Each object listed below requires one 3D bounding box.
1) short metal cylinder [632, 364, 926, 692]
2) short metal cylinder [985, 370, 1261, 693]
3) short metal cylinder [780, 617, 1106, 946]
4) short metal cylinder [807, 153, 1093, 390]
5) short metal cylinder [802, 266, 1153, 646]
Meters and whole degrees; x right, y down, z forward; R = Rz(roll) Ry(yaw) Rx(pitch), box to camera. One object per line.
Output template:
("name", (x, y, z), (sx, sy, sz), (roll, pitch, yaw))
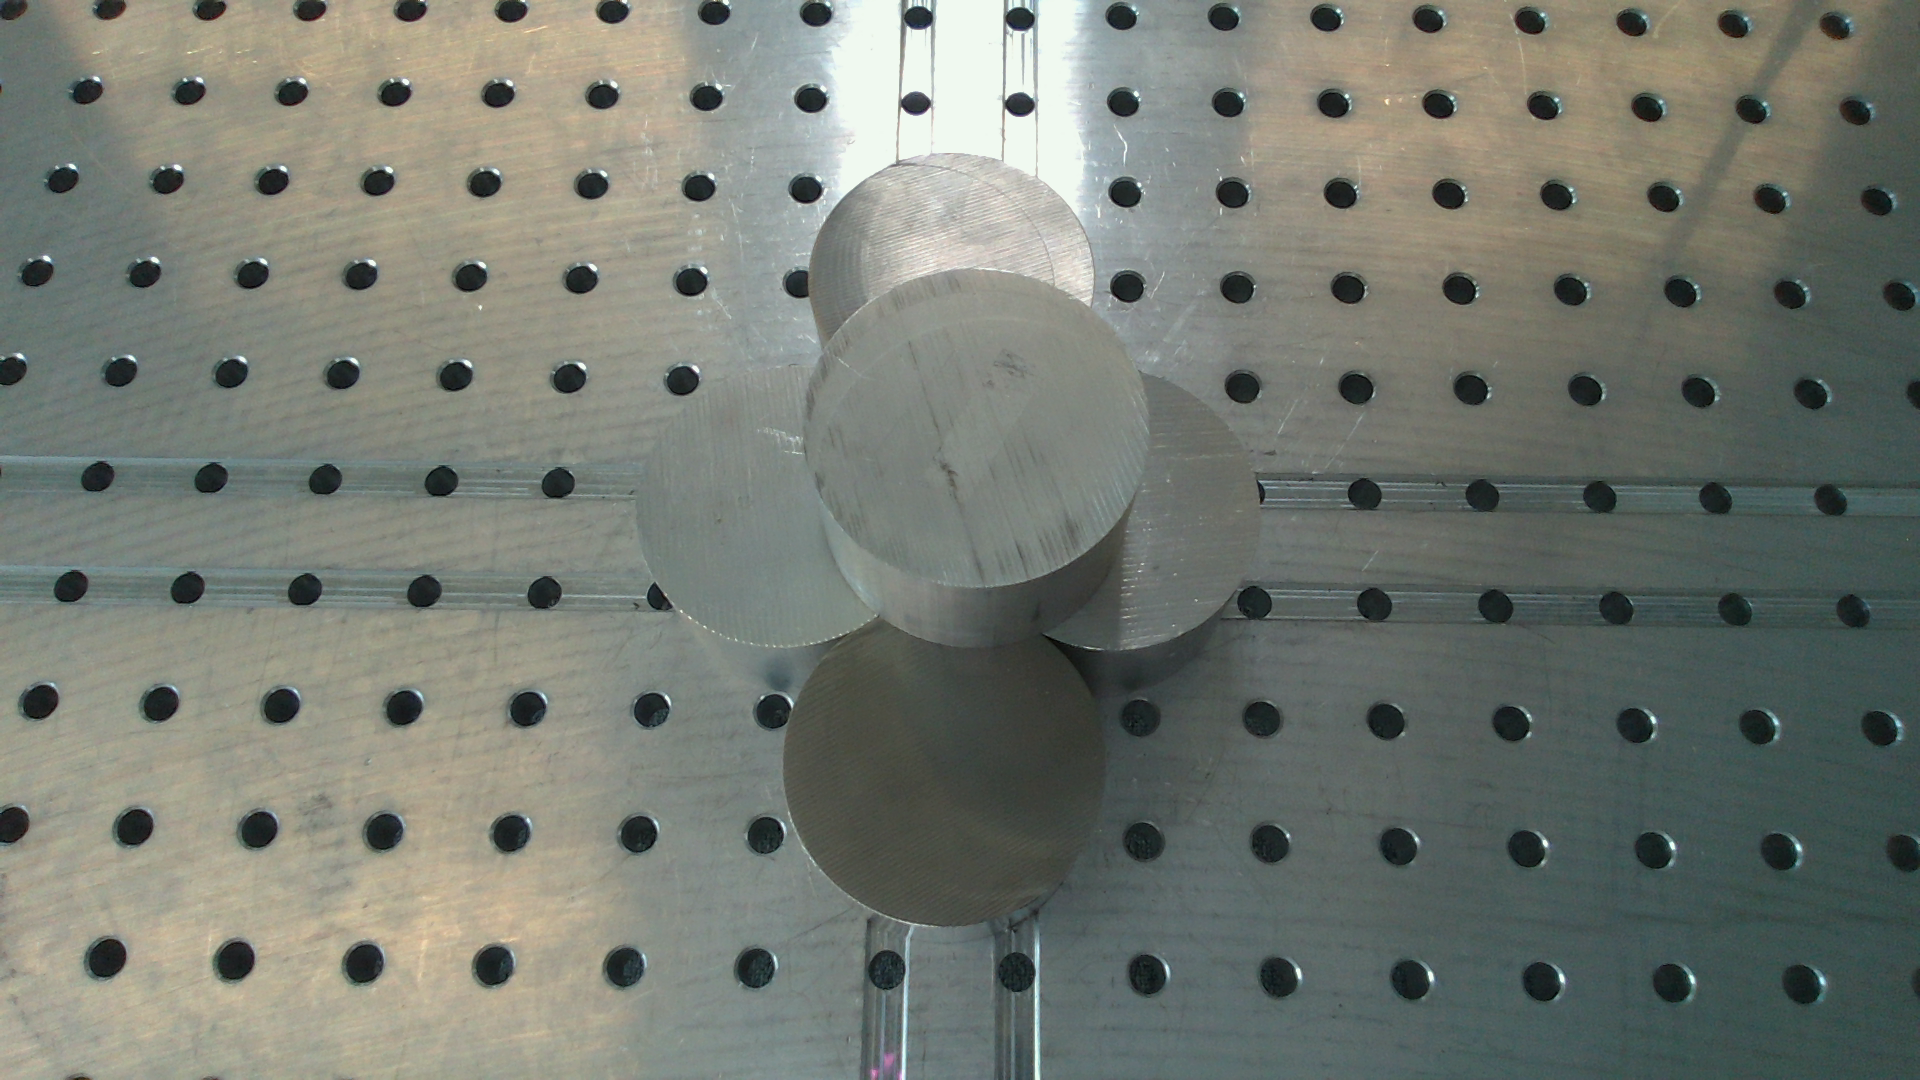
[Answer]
("short metal cylinder", (-0.046, -0.002, 0.384), (0.080, 0.050, 0.080), (0, 70, 0))
("short metal cylinder", (0.039, -0.002, 0.384), (0.080, 0.050, 0.080), (0, 70, 0))
("short metal cylinder", (-0.004, 0.063, 0.361), (0.080, 0.050, 0.080), (0, 68, 0))
("short metal cylinder", (-0.003, -0.066, 0.408), (0.080, 0.050, 0.080), (0, 70, -1))
("short metal cylinder", (0.004, -0.019, 0.337), (0.080, 0.050, 0.080), (0, 70, 0))
